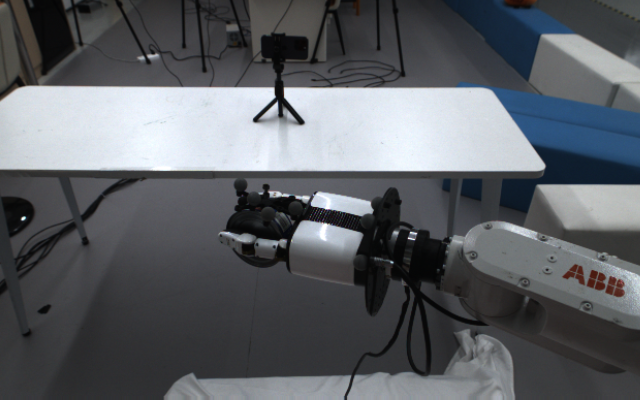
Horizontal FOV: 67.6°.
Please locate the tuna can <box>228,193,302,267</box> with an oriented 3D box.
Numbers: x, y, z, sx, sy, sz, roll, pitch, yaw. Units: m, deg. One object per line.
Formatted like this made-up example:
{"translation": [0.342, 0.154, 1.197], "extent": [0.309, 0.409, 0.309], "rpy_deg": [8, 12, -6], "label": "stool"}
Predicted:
{"translation": [-0.076, 0.043, 0.637], "extent": [0.085, 0.085, 0.034], "rpy_deg": [16, 29, 19], "label": "tuna can"}
